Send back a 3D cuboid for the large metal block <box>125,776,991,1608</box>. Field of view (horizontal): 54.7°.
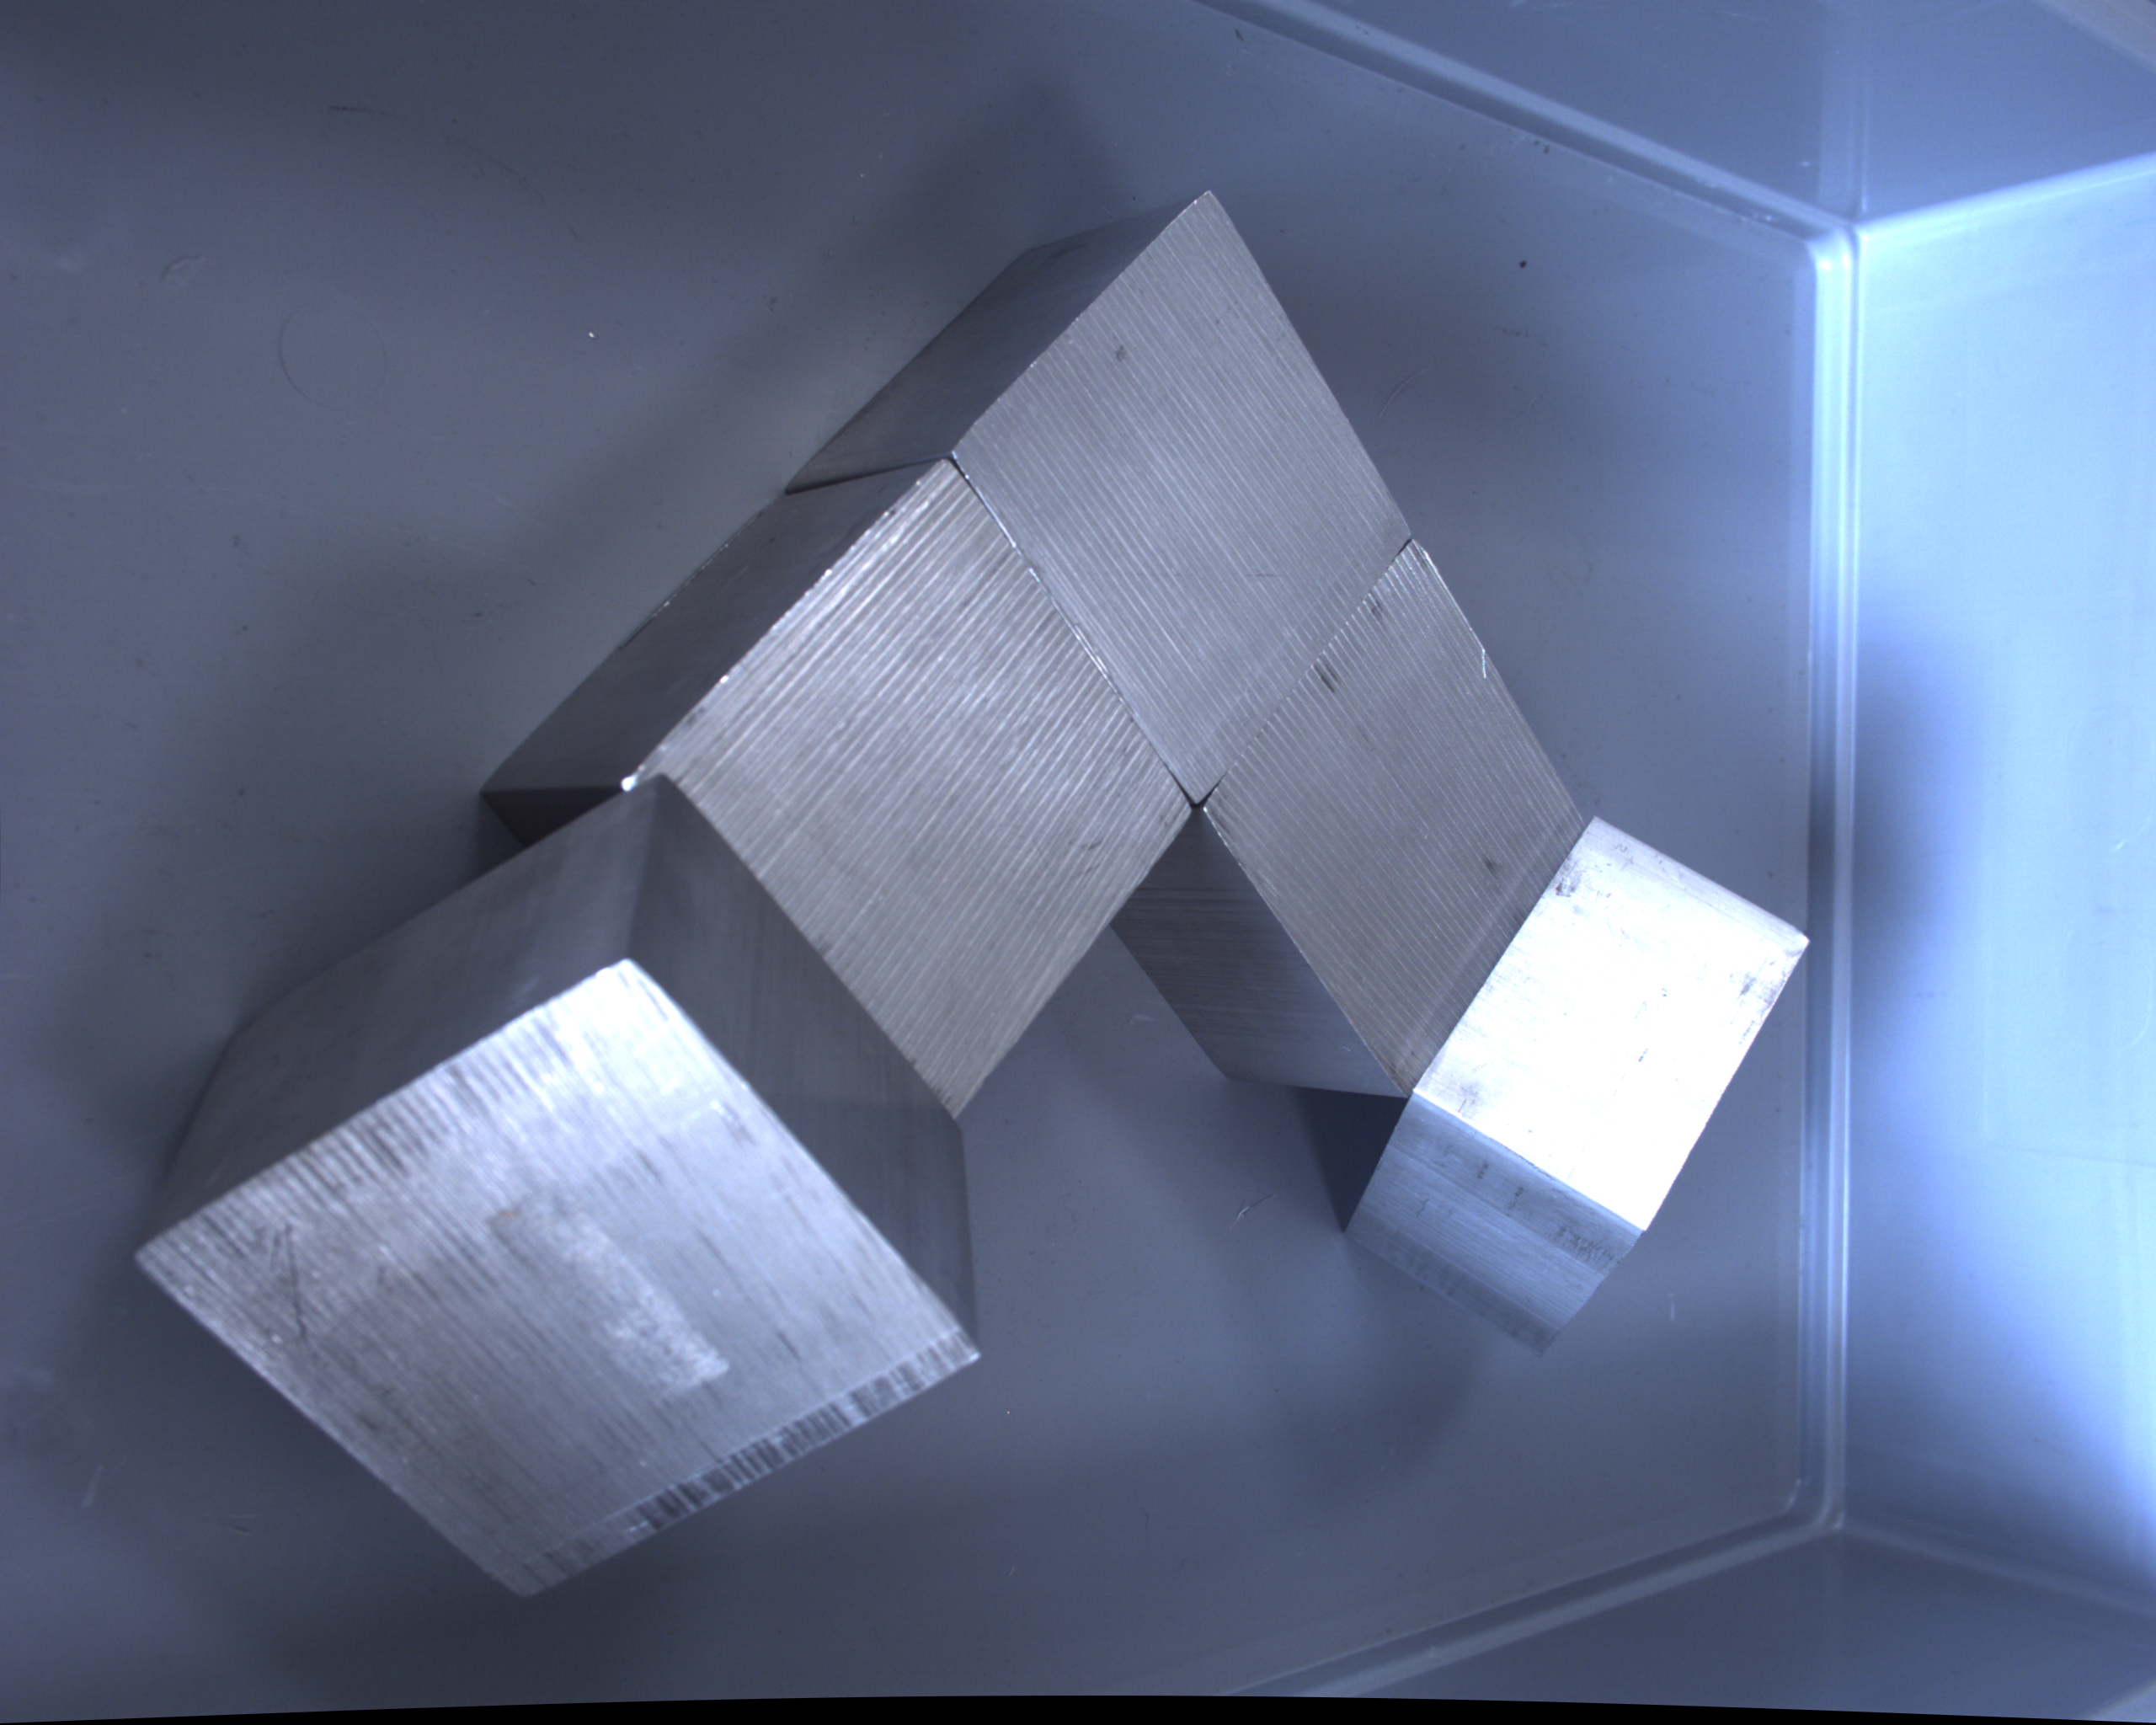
[{"bbox_3d":[-0.070,0.048,0.301,0.080,0.050,0.080,-31,117,10],"label":"large metal block"}]

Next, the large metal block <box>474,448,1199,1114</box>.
[{"bbox_3d":[-0.038,-0.011,0.356,0.080,0.050,0.080,-51,120,-27],"label":"large metal block"}]

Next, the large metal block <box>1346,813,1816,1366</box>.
[{"bbox_3d":[0.106,0.050,0.449,0.080,0.050,0.080,-51,164,-27],"label":"large metal block"}]

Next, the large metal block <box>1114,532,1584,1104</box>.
[{"bbox_3d":[0.050,-0.009,0.429,0.080,0.050,0.080,-51,120,-27],"label":"large metal block"}]

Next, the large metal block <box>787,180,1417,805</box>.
[{"bbox_3d":[0.007,-0.067,0.393,0.080,0.050,0.080,-51,120,-27],"label":"large metal block"}]
